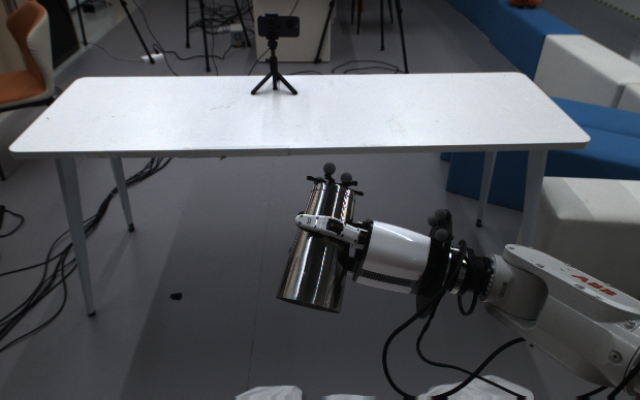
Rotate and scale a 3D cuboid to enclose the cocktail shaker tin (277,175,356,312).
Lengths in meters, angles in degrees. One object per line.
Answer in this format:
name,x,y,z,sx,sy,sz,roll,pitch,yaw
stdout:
cocktail shaker tin,0.001,0.067,0.689,0.093,0.093,0.170,11,74,12
